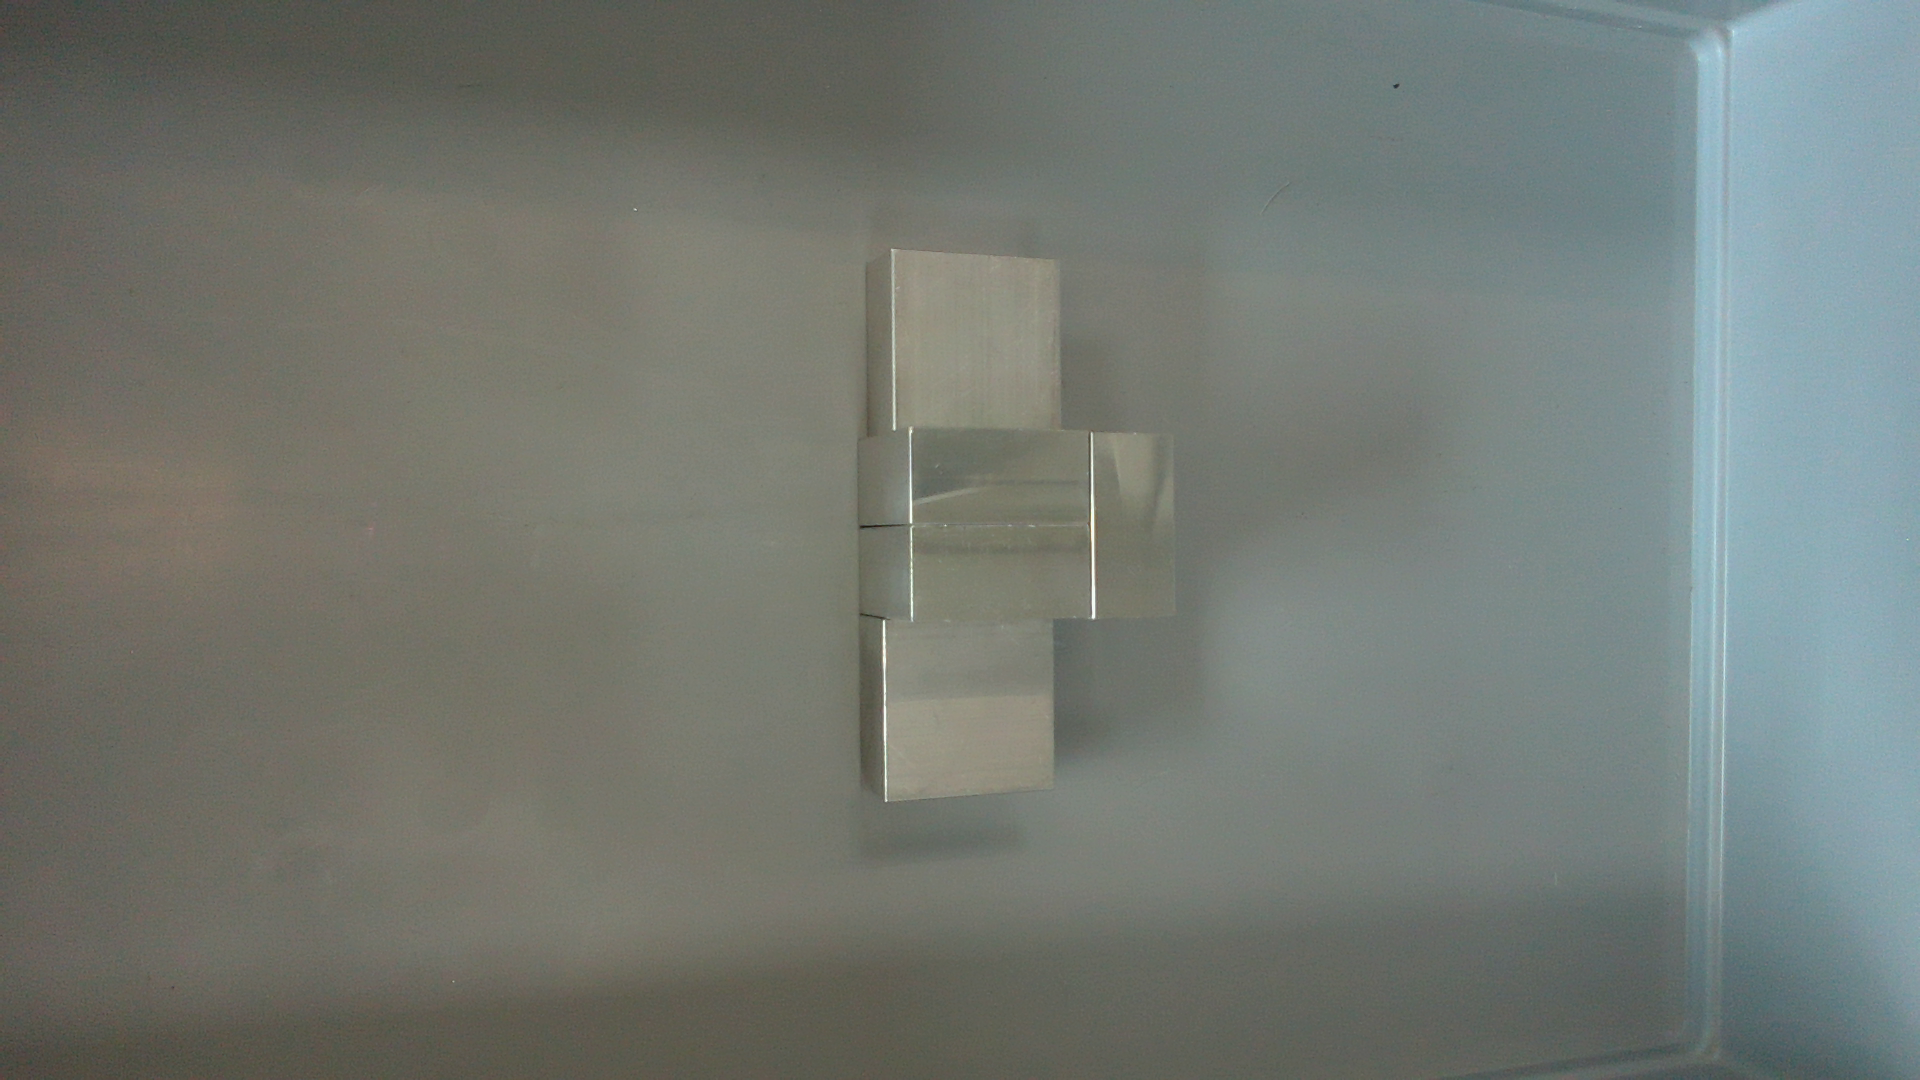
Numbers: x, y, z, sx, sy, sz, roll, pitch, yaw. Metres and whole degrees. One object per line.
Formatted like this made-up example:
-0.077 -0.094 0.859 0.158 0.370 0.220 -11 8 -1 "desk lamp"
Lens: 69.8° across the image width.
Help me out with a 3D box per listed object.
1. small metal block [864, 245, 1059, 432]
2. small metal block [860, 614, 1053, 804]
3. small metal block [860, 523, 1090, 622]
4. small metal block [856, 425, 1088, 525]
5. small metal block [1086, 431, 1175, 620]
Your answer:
0.000 -0.055 0.392 0.050 0.025 0.050 0 90 -20 "small metal block"
-0.002 0.046 0.391 0.050 0.025 0.050 0 90 -20 "small metal block"
0.002 0.008 0.380 0.050 0.050 0.025 0 90 -20 "small metal block"
0.002 -0.017 0.379 0.050 0.050 0.025 0 90 -20 "small metal block"
0.038 -0.004 0.393 0.025 0.050 0.050 0 90 -20 "small metal block"
